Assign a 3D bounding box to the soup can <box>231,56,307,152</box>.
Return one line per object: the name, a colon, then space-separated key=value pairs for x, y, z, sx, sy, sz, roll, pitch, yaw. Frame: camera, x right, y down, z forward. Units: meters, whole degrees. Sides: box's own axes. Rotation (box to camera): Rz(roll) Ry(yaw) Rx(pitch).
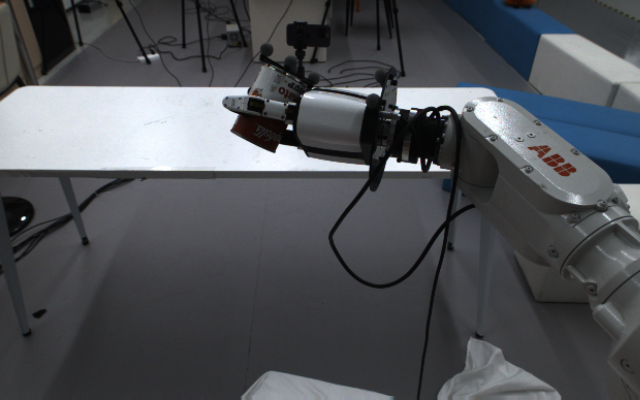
soup can: x=-0.069 y=-0.123 z=0.654 sx=0.067 sy=0.101 sz=0.067 roll=27 pitch=6 yaw=-3
